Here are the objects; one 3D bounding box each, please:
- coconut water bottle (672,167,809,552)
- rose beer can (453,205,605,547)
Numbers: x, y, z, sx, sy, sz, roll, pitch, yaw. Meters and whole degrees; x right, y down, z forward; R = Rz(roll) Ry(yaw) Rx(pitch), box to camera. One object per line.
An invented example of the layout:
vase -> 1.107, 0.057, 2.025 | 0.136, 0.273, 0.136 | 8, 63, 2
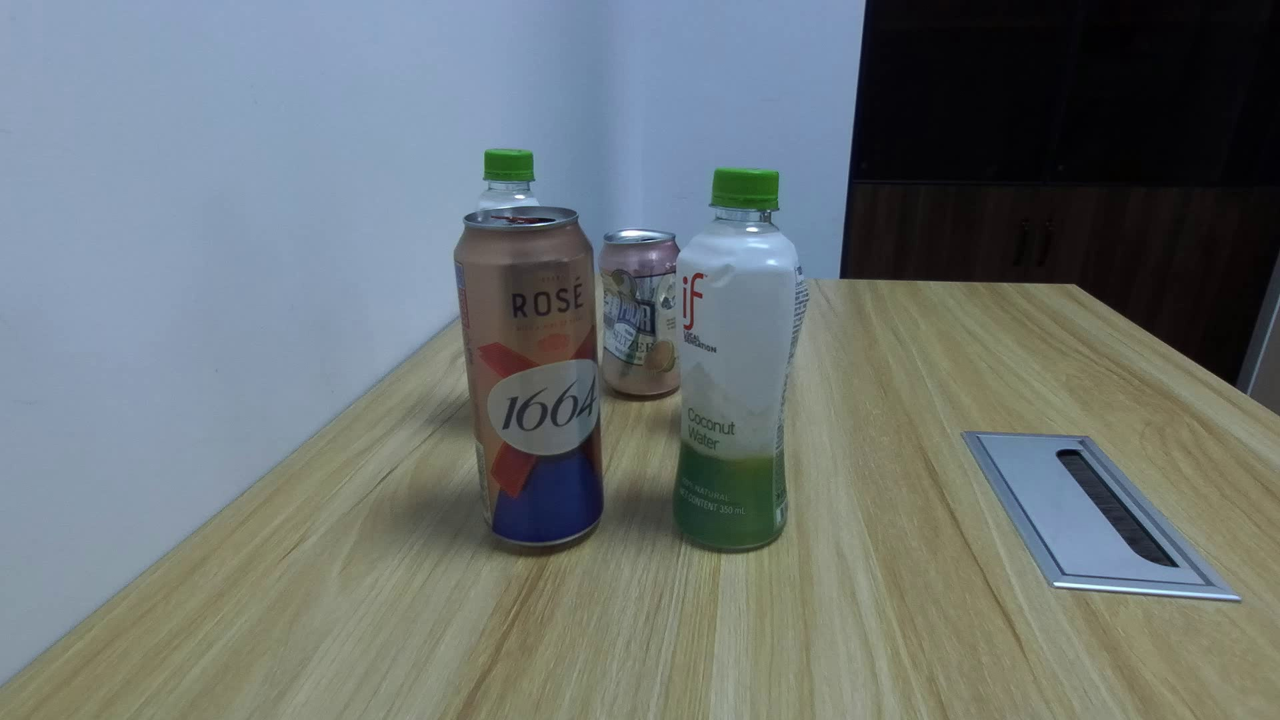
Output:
coconut water bottle -> 0.049, 0.000, 0.356 | 0.069, 0.187, 0.069 | -2, 19, 1
rose beer can -> -0.054, 0.011, 0.367 | 0.068, 0.169, 0.068 | 0, 21, 0
